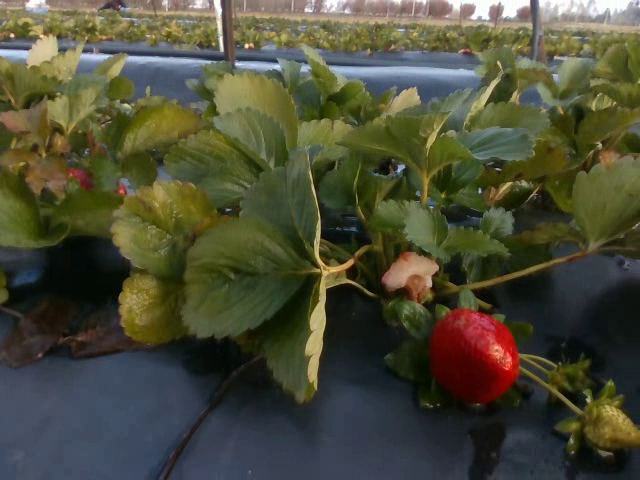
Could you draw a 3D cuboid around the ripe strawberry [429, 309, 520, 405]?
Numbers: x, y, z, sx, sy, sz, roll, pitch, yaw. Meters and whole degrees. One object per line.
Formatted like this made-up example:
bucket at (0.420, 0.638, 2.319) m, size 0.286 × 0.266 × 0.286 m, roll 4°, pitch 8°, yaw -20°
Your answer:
ripe strawberry at (0.076, 0.053, 0.281) m, size 0.043 × 0.052 × 0.057 m, roll -24°, pitch -11°, yaw -3°
